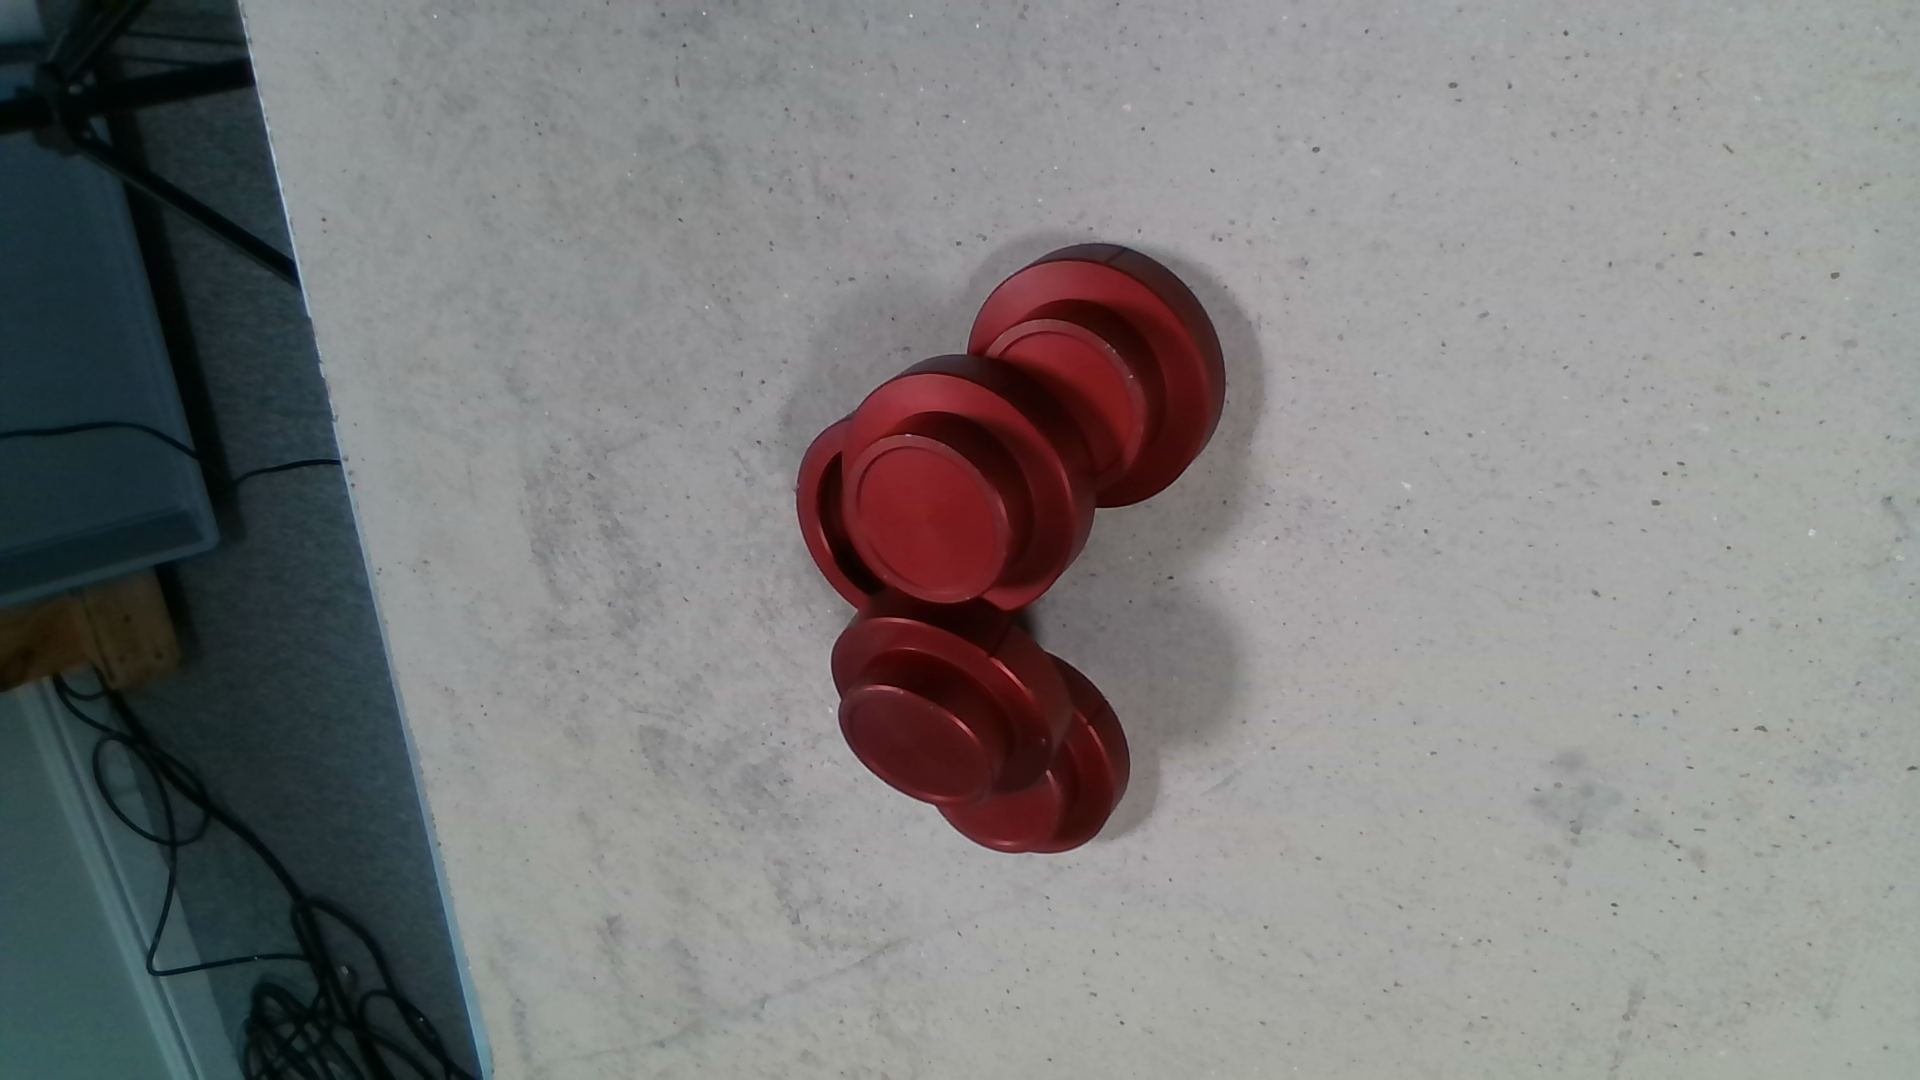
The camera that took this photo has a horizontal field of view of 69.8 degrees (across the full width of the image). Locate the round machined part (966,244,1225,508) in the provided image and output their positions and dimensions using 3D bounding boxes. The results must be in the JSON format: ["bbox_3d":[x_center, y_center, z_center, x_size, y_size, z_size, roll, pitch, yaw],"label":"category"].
[{"bbox_3d":[0.044,-0.056,0.510,0.098,0.042,0.098,14,122,25],"label":"round machined part"}]

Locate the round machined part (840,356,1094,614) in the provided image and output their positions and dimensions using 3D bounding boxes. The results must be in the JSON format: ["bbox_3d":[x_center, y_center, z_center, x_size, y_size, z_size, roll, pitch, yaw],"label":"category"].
[{"bbox_3d":[-0.004,-0.015,0.508,0.098,0.042,0.098,14,122,25],"label":"round machined part"}]

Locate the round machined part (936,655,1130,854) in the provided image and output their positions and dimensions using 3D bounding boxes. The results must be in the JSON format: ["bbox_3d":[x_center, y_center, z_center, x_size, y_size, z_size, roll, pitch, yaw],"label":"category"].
[{"bbox_3d":[0.022,0.099,0.609,0.098,0.042,0.098,14,122,25],"label":"round machined part"}]

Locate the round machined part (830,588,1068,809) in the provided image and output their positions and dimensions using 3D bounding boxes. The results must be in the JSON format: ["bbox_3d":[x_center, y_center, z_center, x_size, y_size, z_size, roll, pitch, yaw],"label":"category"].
[{"bbox_3d":[-0.009,0.068,0.544,0.098,0.042,0.098,18,136,19],"label":"round machined part"}]

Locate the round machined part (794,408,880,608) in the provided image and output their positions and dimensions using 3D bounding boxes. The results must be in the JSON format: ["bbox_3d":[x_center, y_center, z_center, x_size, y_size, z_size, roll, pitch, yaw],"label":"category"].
[{"bbox_3d":[-0.017,-0.014,0.572,0.098,0.042,0.098,14,122,25],"label":"round machined part"}]
